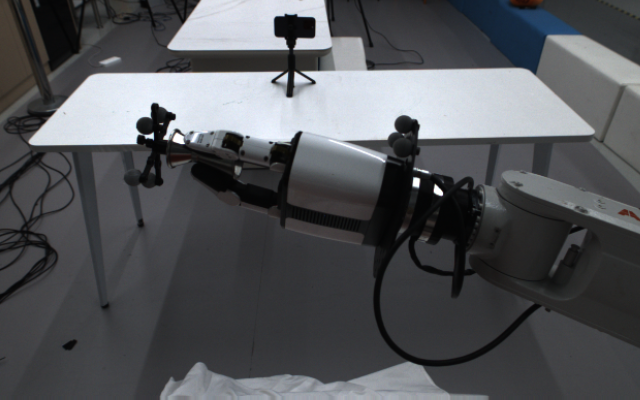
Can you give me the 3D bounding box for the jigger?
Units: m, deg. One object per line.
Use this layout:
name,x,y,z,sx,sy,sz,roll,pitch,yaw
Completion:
jigger,-0.106,-0.048,0.486,0.071,0.043,0.043,9,35,2
